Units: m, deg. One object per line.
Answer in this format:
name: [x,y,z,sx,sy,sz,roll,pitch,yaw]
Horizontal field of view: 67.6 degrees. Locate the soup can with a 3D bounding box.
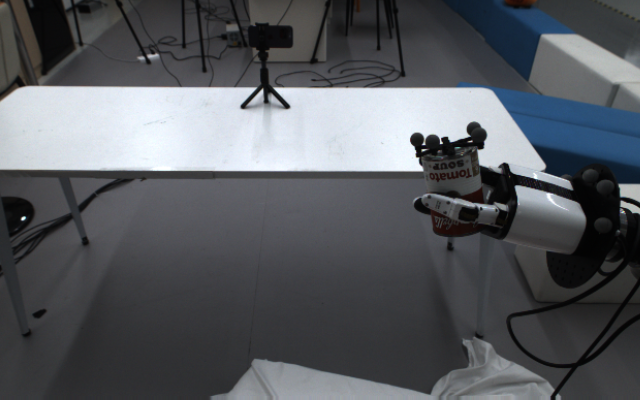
soup can: [0.168,-0.015,0.602,0.067,0.101,0.067,-12,17,4]
